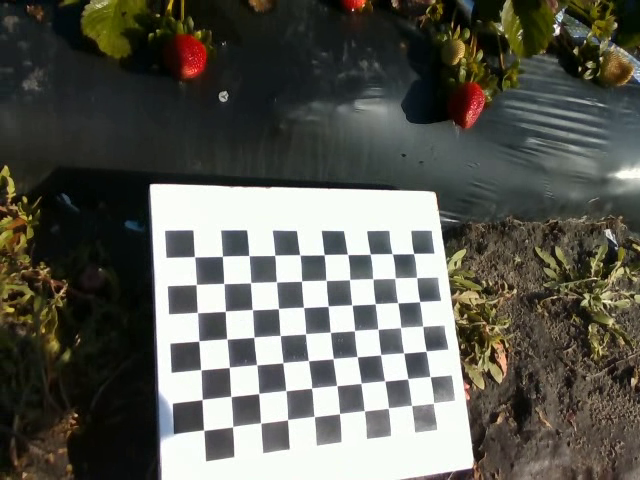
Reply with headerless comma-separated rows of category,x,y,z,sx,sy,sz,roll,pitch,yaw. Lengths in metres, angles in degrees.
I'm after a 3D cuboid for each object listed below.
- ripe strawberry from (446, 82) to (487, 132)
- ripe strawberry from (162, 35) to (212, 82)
ripe strawberry,0.140,-0.128,0.644,0.042,0.058,0.042,24,-33,-19
ripe strawberry,-0.117,-0.158,0.582,0.046,0.055,0.041,10,-49,-25
